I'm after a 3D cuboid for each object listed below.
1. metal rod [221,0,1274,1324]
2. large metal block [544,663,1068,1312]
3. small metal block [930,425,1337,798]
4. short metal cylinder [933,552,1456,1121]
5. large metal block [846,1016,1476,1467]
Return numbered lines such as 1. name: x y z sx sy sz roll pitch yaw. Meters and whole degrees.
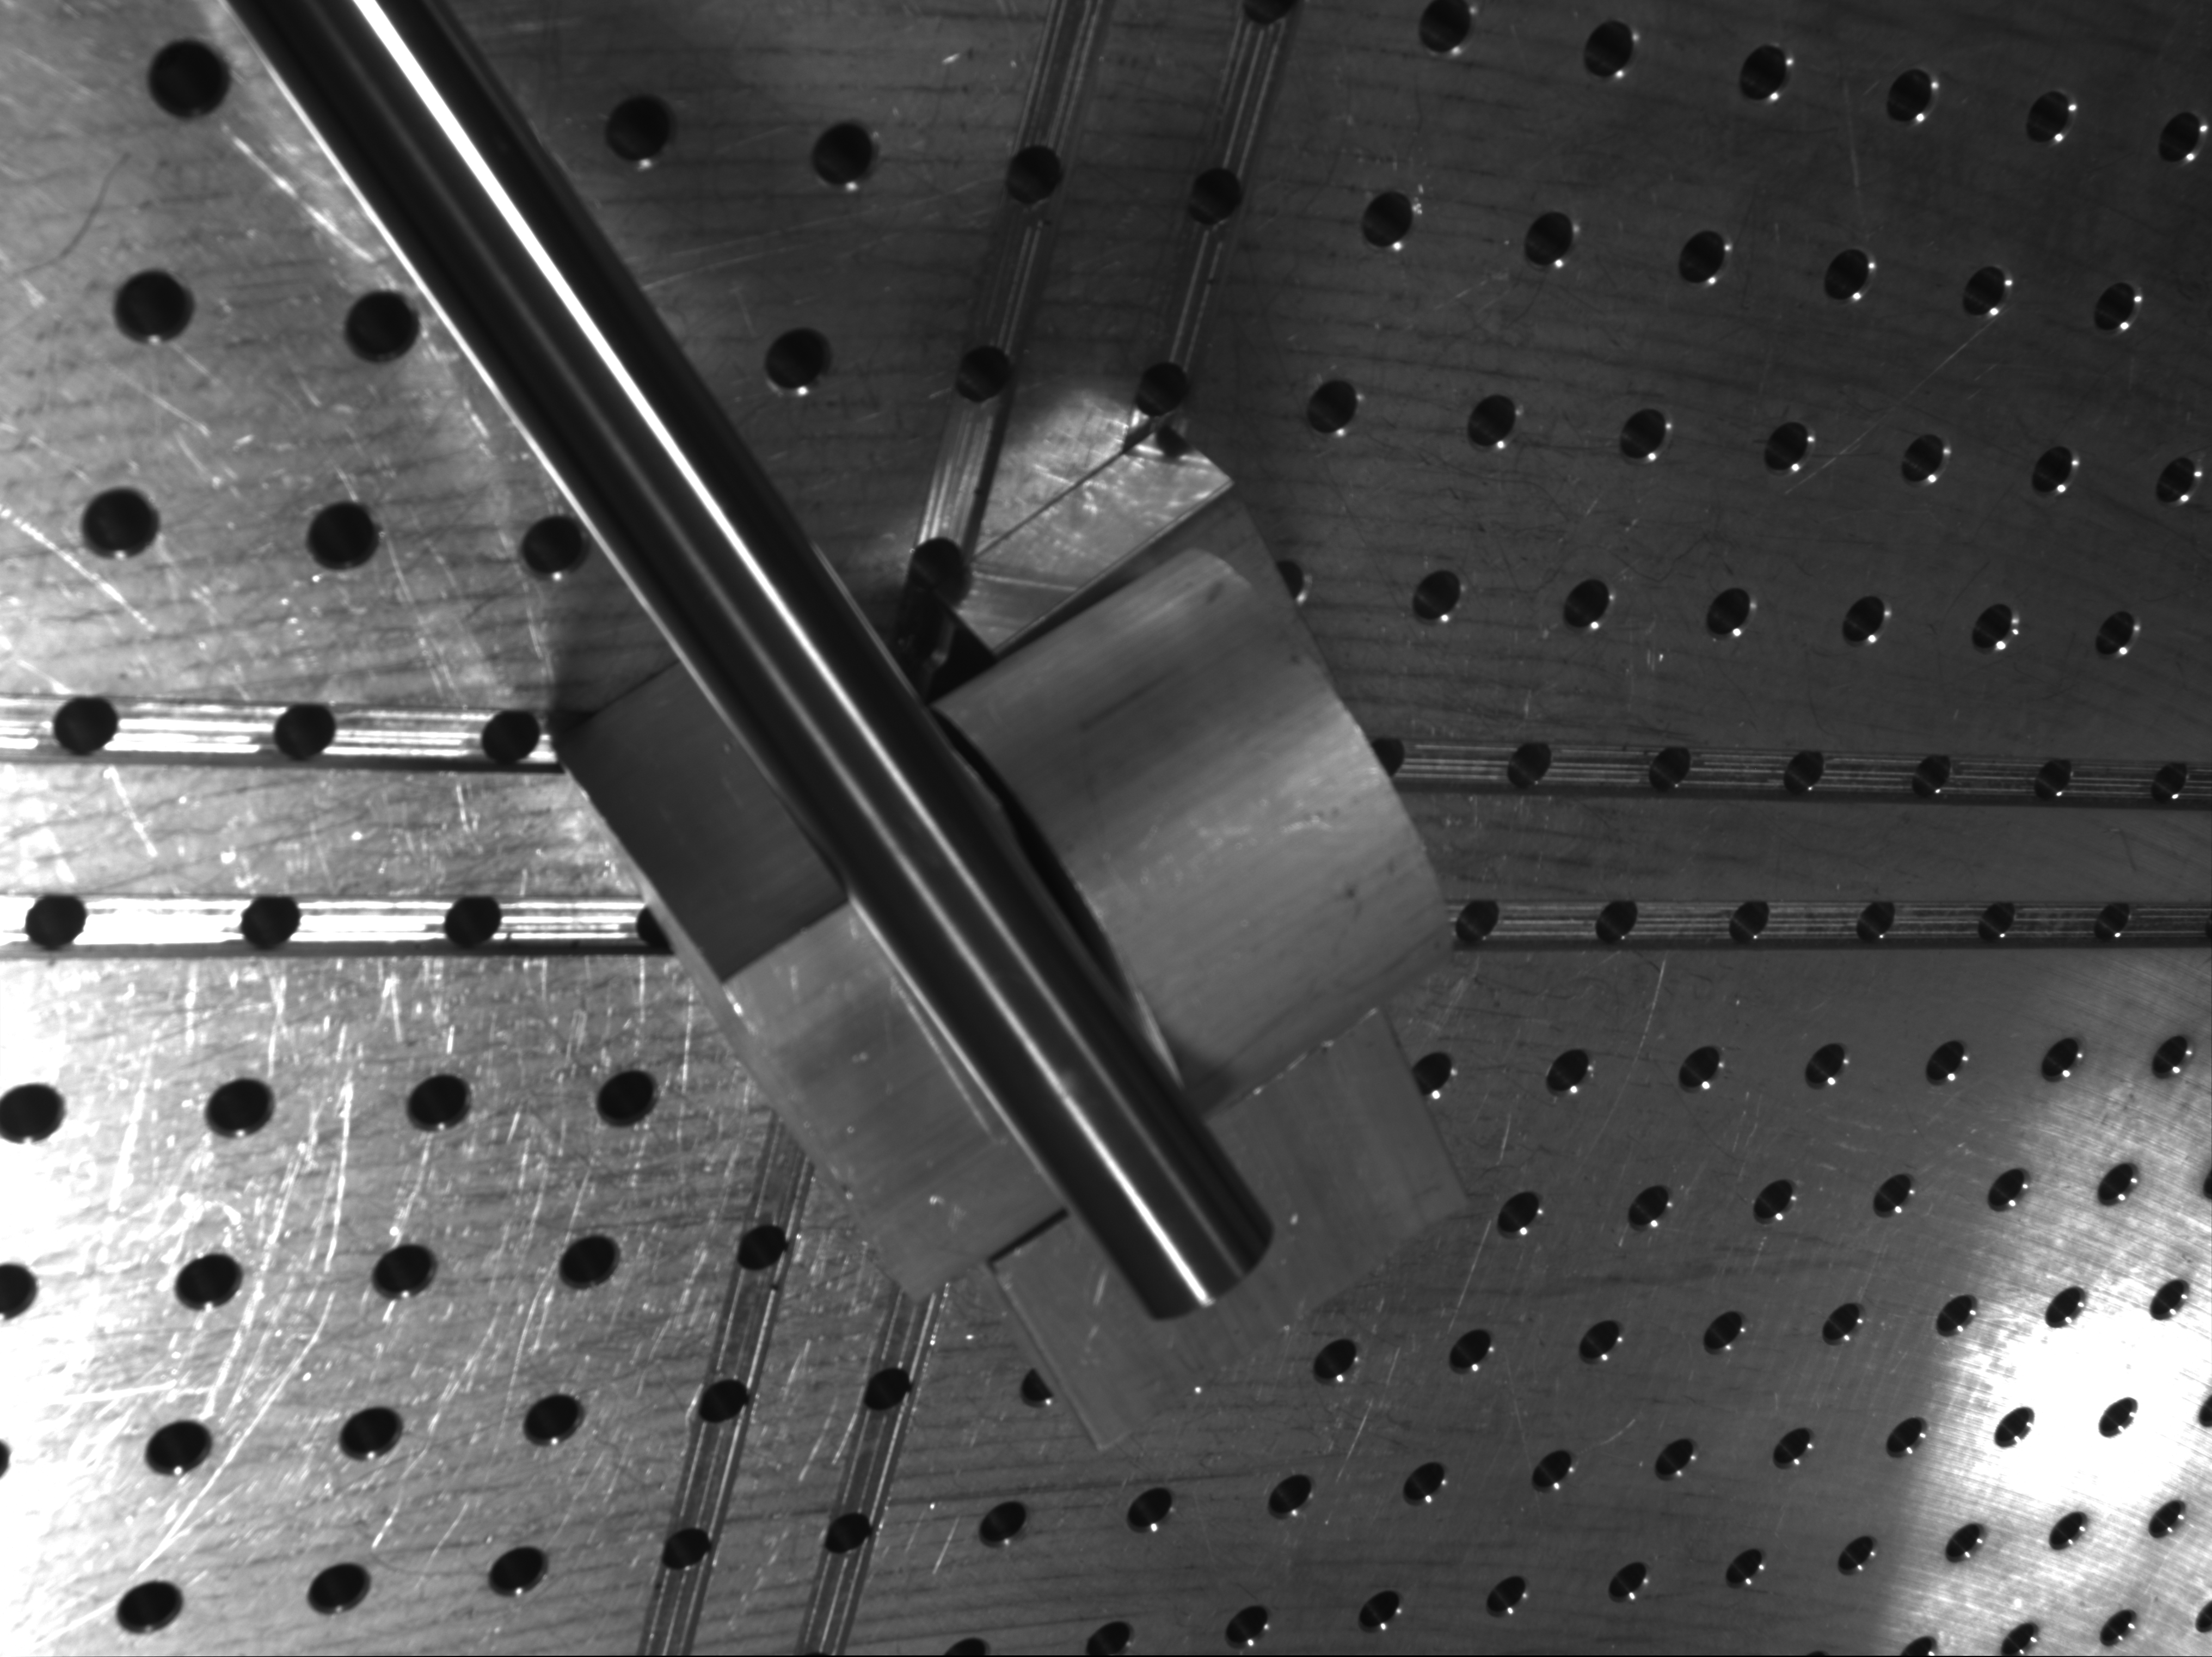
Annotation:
1. metal rod: -0.064 -0.051 0.517 0.025 0.025 0.300 -36 109 -6
2. large metal block: -0.041 0.019 0.606 0.050 0.080 0.080 -33 130 -9
3. small metal block: 0.005 -0.033 0.637 0.050 0.025 0.050 -36 130 -6
4. short metal cylinder: 0.013 0.002 0.594 0.050 0.080 0.080 -32 129 -9
5. large metal block: 0.006 0.052 0.651 0.080 0.080 0.050 -33 130 -9
